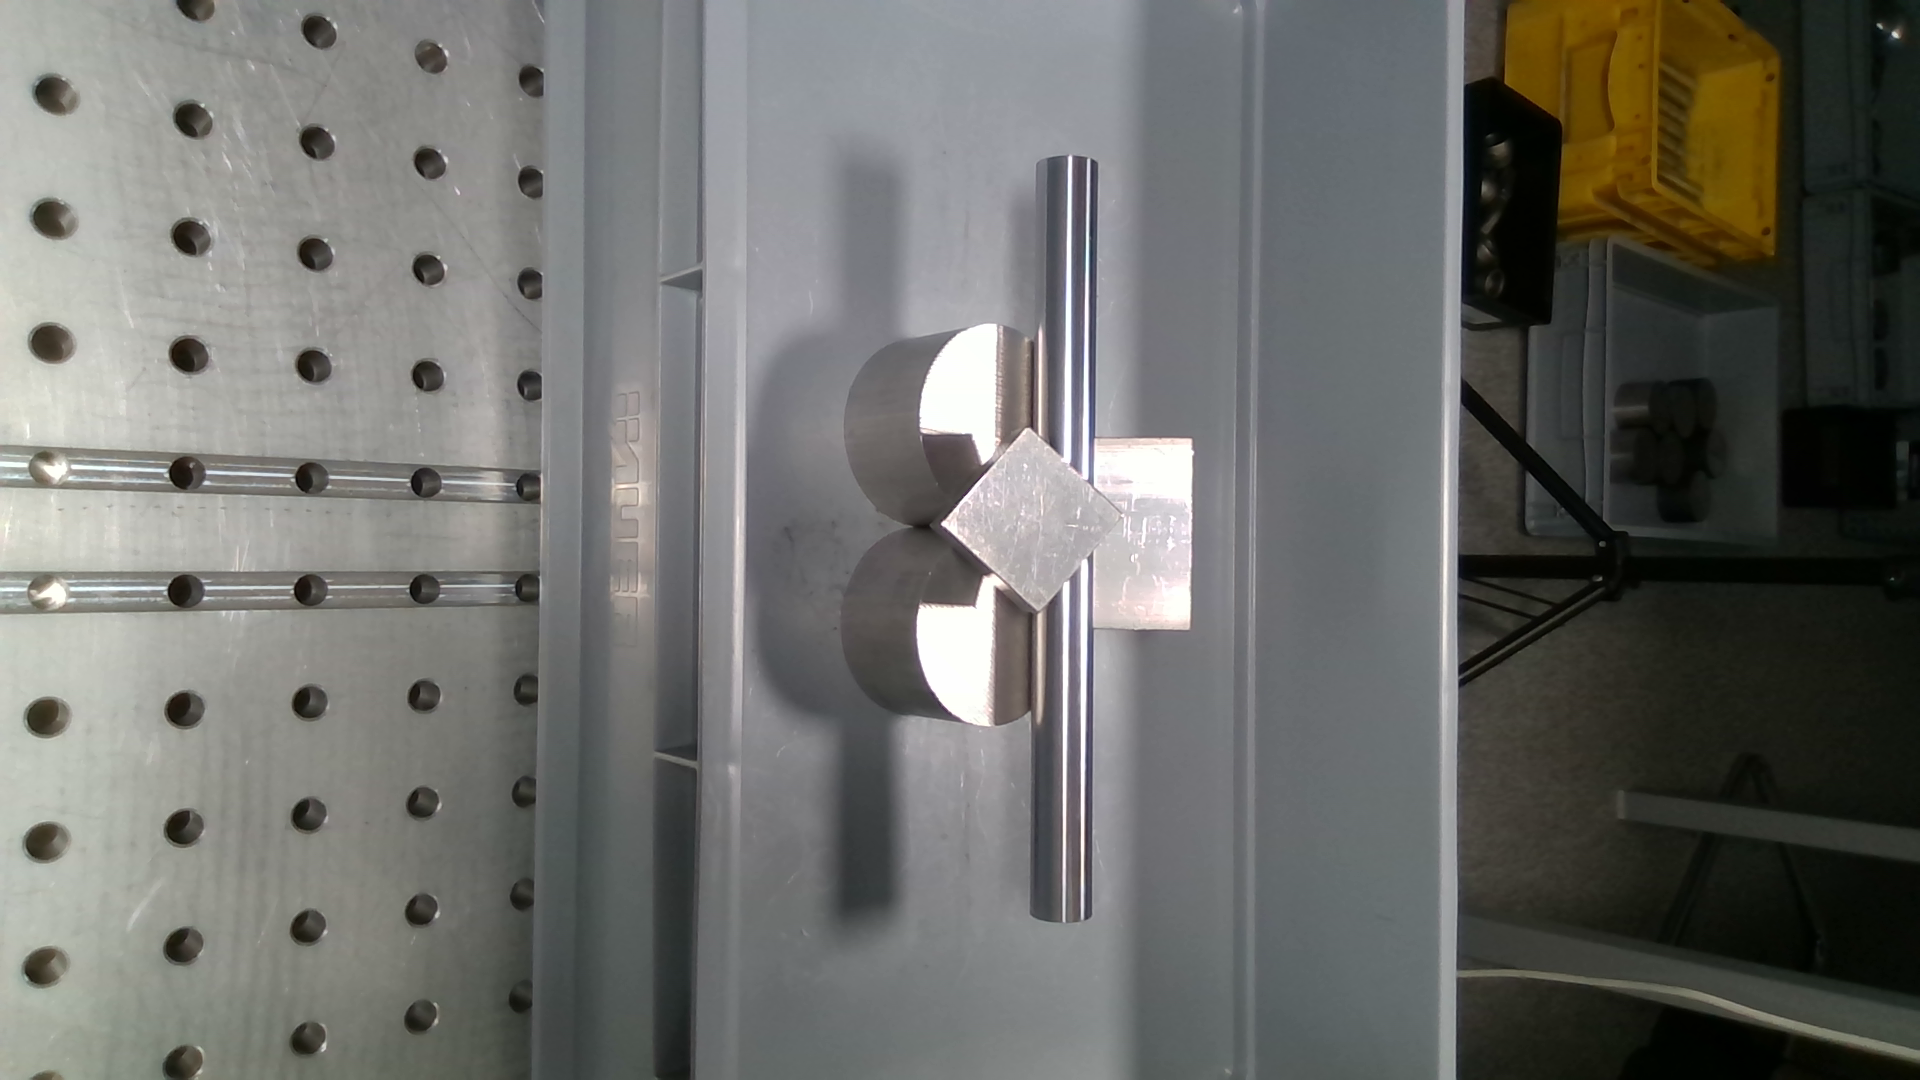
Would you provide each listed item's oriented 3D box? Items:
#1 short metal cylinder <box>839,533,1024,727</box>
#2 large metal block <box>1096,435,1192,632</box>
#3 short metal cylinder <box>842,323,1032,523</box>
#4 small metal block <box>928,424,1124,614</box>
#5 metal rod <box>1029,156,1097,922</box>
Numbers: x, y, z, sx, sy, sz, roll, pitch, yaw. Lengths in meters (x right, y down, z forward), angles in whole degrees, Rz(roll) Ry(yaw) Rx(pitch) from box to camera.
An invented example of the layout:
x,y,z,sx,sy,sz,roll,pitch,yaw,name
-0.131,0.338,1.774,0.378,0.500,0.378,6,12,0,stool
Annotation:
x,y,z,sx,sy,sz,roll,pitch,yaw,name
-0.002,0.034,0.564,0.080,0.050,0.080,0,90,-40,short metal cylinder
0.074,-0.002,0.601,0.080,0.050,0.080,6,84,-83,large metal block
-0.001,-0.046,0.565,0.080,0.050,0.080,0,90,-40,short metal cylinder
0.025,-0.008,0.523,0.050,0.025,0.050,42,82,-9,small metal block
0.041,0.000,0.552,0.025,0.025,0.300,1,90,-40,metal rod
